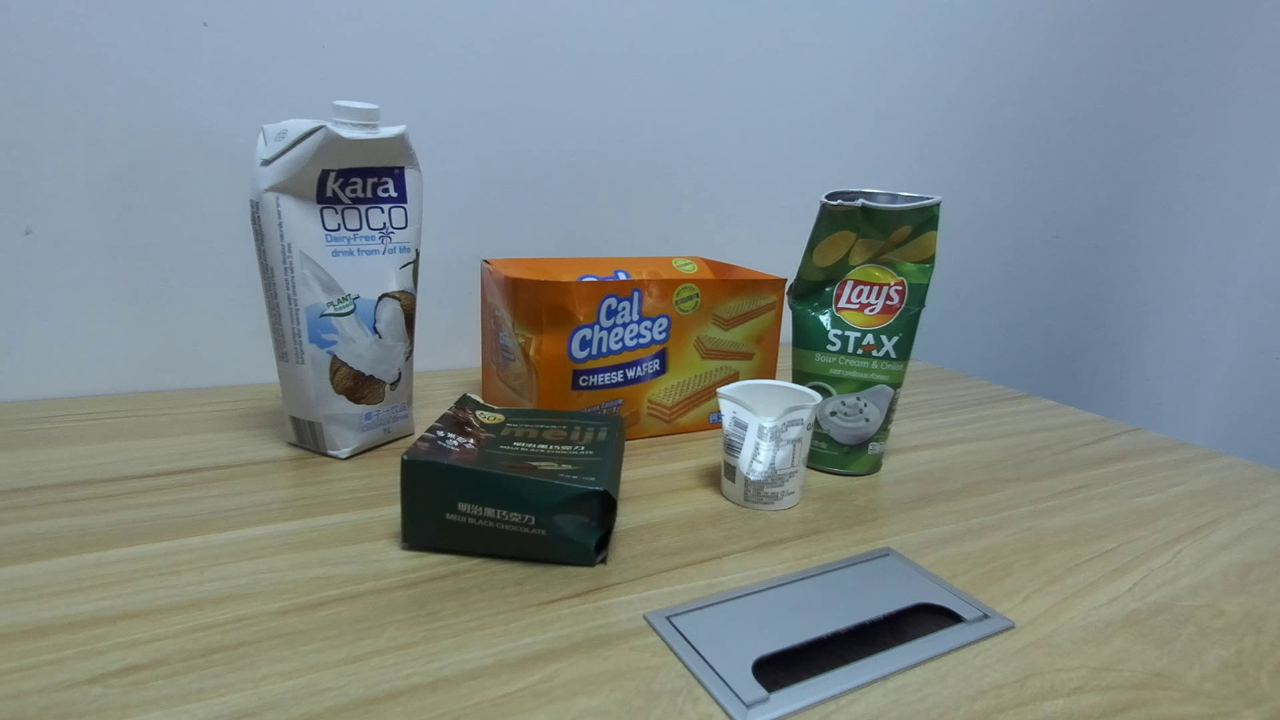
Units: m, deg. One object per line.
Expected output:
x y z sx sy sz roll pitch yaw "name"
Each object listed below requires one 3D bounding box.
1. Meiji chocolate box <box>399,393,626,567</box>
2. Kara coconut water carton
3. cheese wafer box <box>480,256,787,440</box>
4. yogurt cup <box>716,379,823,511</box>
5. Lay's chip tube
-0.068 0.069 0.418 0.116 0.058 0.122 7 16 2 "Meiji chocolate box"
-0.207 -0.055 0.494 0.069 0.238 0.115 13 18 26 "Kara coconut water carton"
-0.012 -0.014 0.604 0.231 0.132 0.151 -3 17 -28 "cheese wafer box"
0.083 0.054 0.464 0.067 0.070 0.067 2 14 0 "yogurt cup"
0.155 -0.020 0.514 0.077 0.201 0.069 -7 17 -27 "Lay's chip tube"
